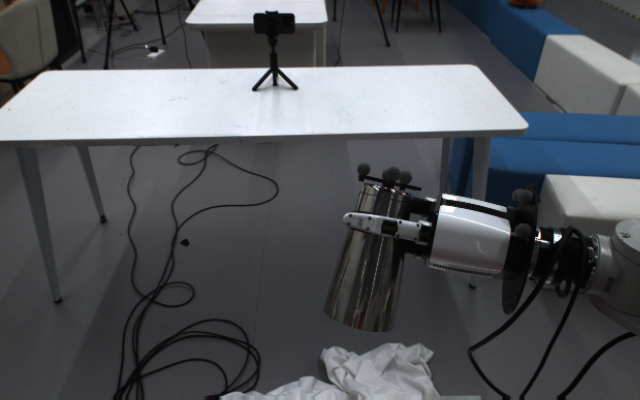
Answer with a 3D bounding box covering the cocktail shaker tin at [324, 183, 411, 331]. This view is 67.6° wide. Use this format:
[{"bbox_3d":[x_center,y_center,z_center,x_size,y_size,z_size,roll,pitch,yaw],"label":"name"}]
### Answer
[{"bbox_3d":[0.070,0.067,0.619,0.093,0.170,0.093,13,3,-1],"label":"cocktail shaker tin"}]
